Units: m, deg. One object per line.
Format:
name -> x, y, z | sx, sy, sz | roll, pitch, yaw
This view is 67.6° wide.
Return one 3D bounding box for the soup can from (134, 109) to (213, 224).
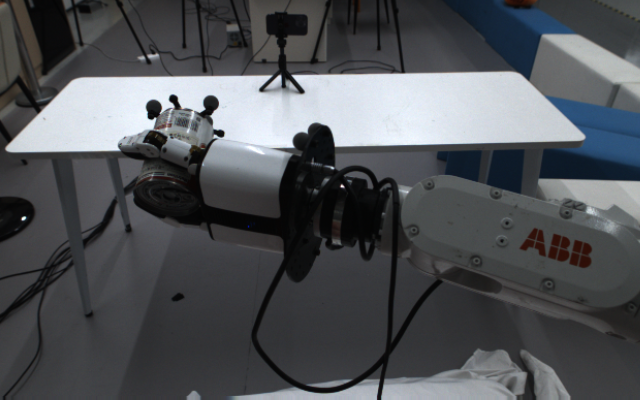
soup can -> -0.156, -0.042, 0.528 | 0.067, 0.067, 0.101 | 3, 57, 1
